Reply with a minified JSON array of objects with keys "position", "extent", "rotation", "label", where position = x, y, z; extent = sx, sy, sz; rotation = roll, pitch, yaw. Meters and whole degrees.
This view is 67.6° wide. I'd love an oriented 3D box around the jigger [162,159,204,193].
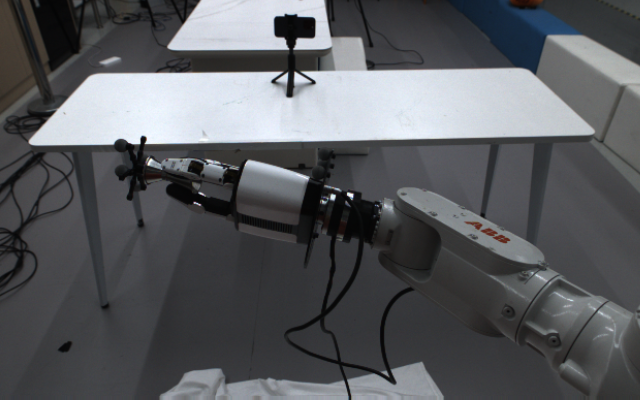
[{"position":[-0.189,-0.038,0.653],"extent":[0.071,0.043,0.043],"rotation":[9,35,2],"label":"jigger"}]
